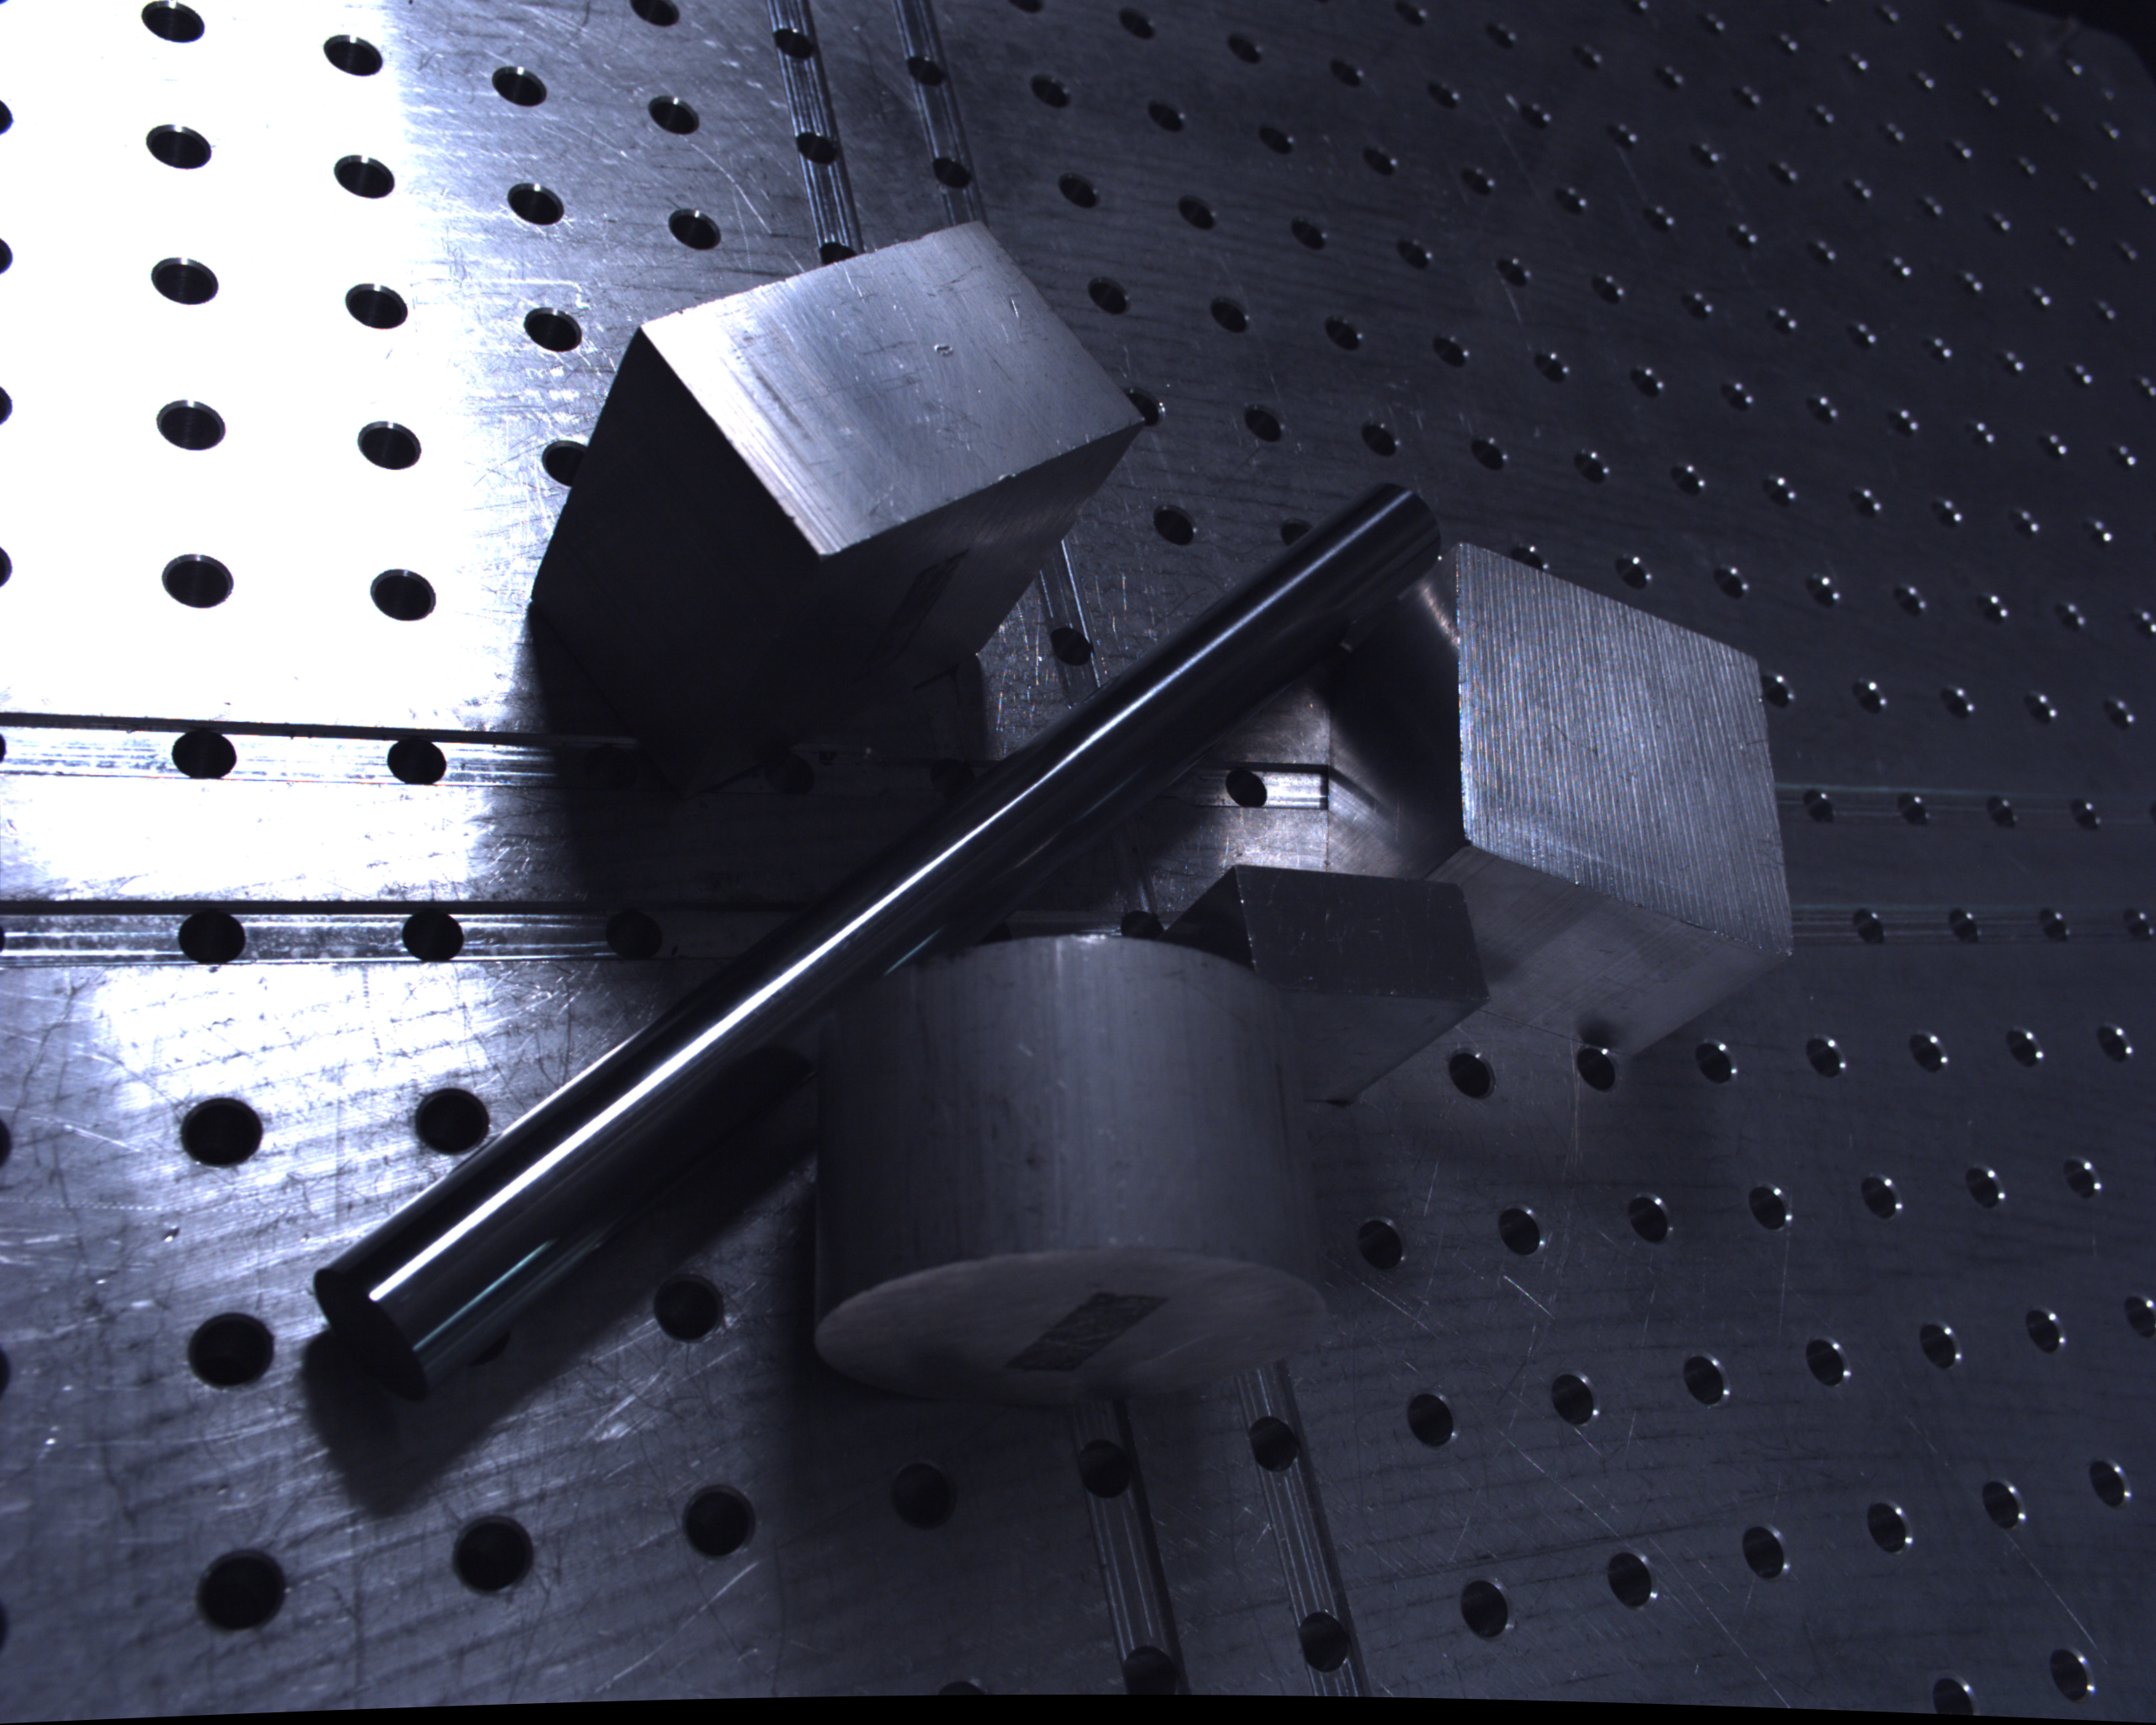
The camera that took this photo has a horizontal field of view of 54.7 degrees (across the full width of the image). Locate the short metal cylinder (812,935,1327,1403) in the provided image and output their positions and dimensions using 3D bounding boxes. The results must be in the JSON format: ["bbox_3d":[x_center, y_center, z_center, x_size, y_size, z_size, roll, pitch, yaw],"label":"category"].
[{"bbox_3d":[-0.002,0.052,0.340,0.081,0.080,0.050,11,57,-23],"label":"short metal cylinder"}]

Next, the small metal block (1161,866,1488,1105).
[{"bbox_3d":[0.041,0.025,0.401,0.050,0.050,0.025,5,60,-26],"label":"small metal block"}]

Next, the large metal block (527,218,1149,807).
[{"bbox_3d":[-0.046,-0.065,0.390,0.081,0.080,0.050,-32,80,-38],"label":"large metal block"}]

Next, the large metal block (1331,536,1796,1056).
[{"bbox_3d":[0.103,-0.013,0.455,0.081,0.050,0.080,18,55,-18],"label":"large metal block"}]

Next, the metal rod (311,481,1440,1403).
[{"bbox_3d":[-0.015,-0.005,0.404,0.025,0.025,0.302,47,51,4],"label":"metal rod"}]
